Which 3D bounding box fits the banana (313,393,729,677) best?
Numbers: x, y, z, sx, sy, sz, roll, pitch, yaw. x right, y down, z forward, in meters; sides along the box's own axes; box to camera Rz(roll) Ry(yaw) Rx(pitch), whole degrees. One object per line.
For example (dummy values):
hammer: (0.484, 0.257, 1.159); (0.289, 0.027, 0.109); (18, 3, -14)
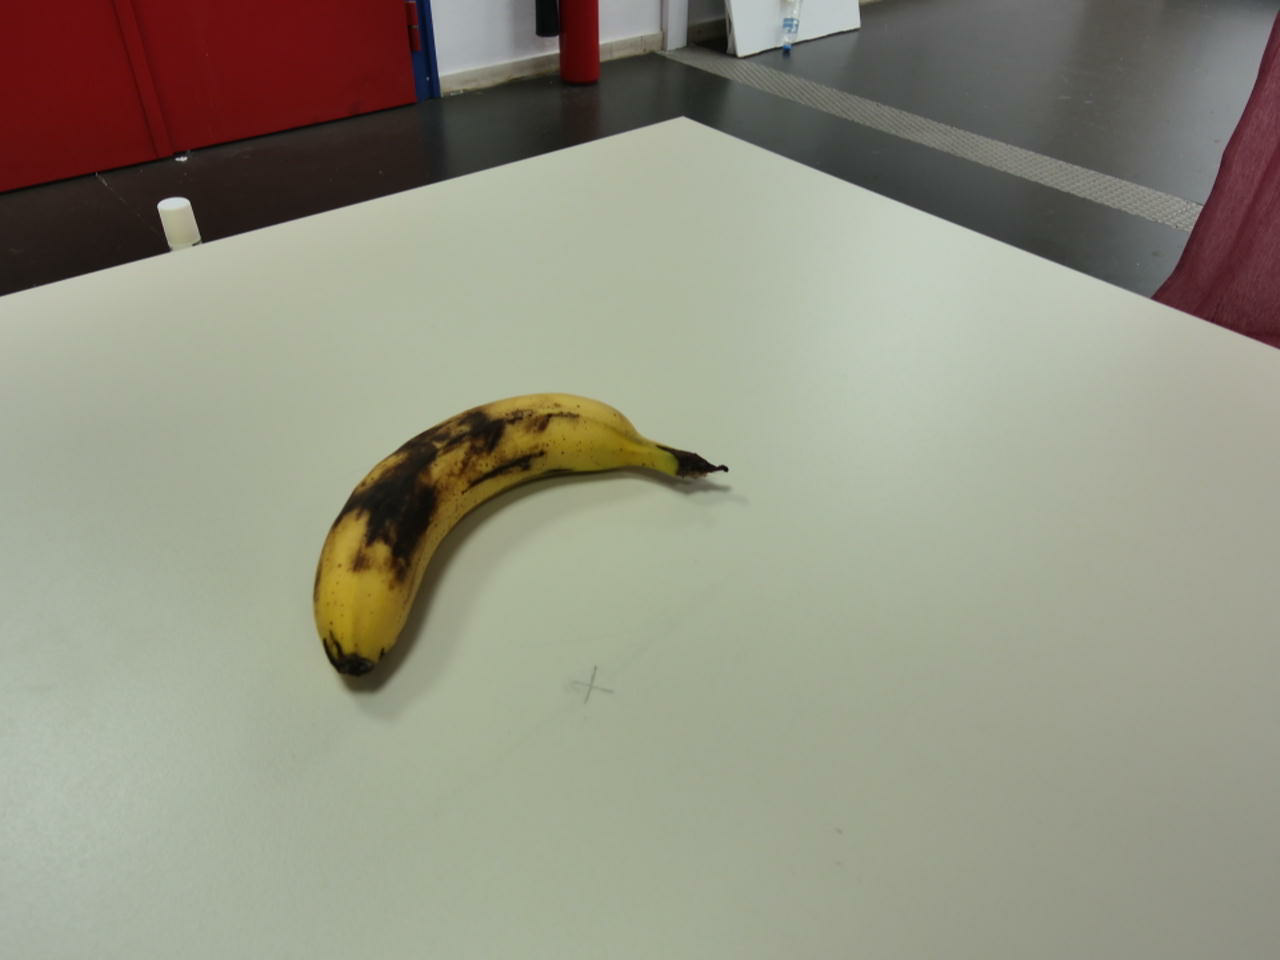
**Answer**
banana: (-0.063, 0.006, 0.419); (0.187, 0.039, 0.094); (-28, 45, -33)
